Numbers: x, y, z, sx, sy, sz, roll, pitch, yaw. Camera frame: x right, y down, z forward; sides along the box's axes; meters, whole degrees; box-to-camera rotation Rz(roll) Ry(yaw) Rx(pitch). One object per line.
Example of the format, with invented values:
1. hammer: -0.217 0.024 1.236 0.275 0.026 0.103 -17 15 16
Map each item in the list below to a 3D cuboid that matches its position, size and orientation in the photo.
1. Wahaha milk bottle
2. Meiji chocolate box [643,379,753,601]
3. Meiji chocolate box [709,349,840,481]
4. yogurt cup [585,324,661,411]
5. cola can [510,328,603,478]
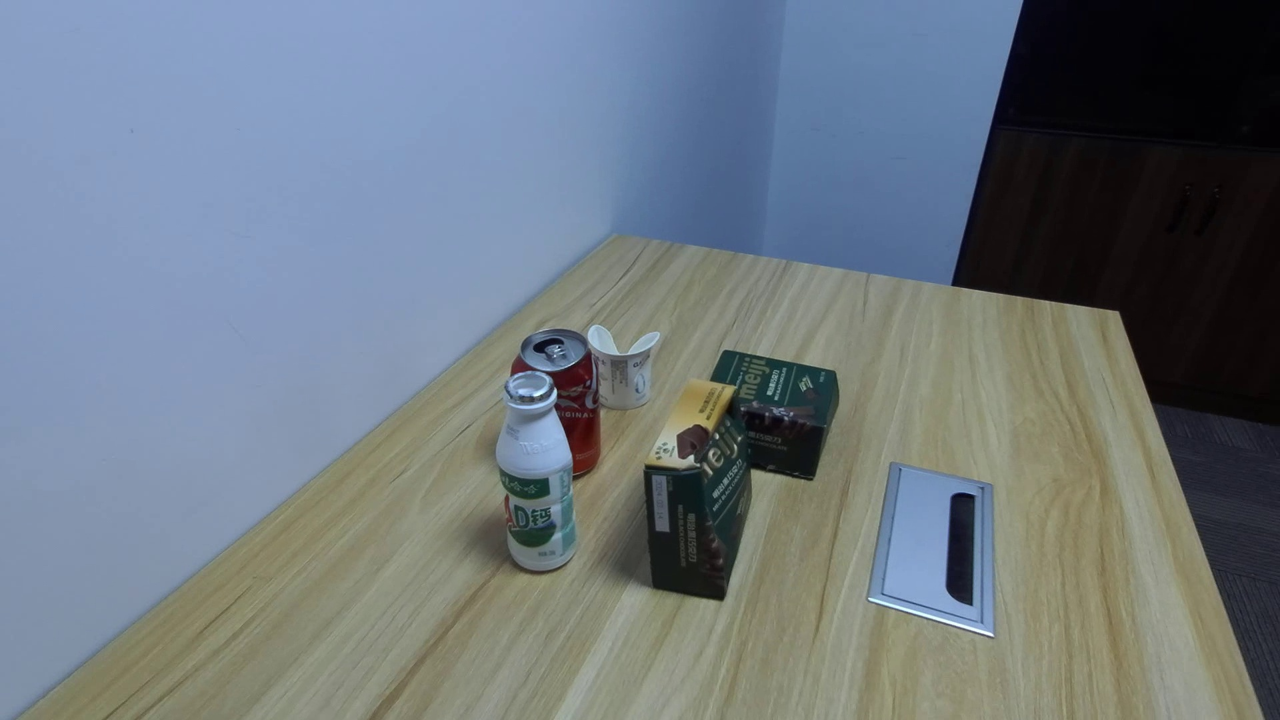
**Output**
1. Wahaha milk bottle: -0.070 0.077 0.485 0.056 0.148 0.056 0 30 1
2. Meiji chocolate box: 0.044 0.086 0.503 0.051 0.117 0.117 2 30 19
3. Meiji chocolate box: 0.113 0.044 0.630 0.122 0.058 0.116 10 30 15
4. yogurt cup: -0.016 0.008 0.669 0.067 0.070 0.067 1 31 -1
5. cola can: -0.064 0.036 0.586 0.072 0.117 0.065 8 31 14
